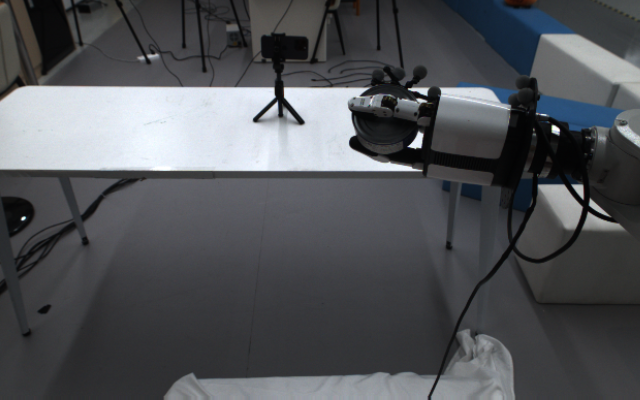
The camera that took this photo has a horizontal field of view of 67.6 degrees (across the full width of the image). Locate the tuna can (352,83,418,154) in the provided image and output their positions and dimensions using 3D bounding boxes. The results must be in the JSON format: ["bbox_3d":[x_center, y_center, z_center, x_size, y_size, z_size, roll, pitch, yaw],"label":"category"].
[{"bbox_3d":[0.085,-0.107,0.622,0.085,0.034,0.085,-4,67,10],"label":"tuna can"}]
